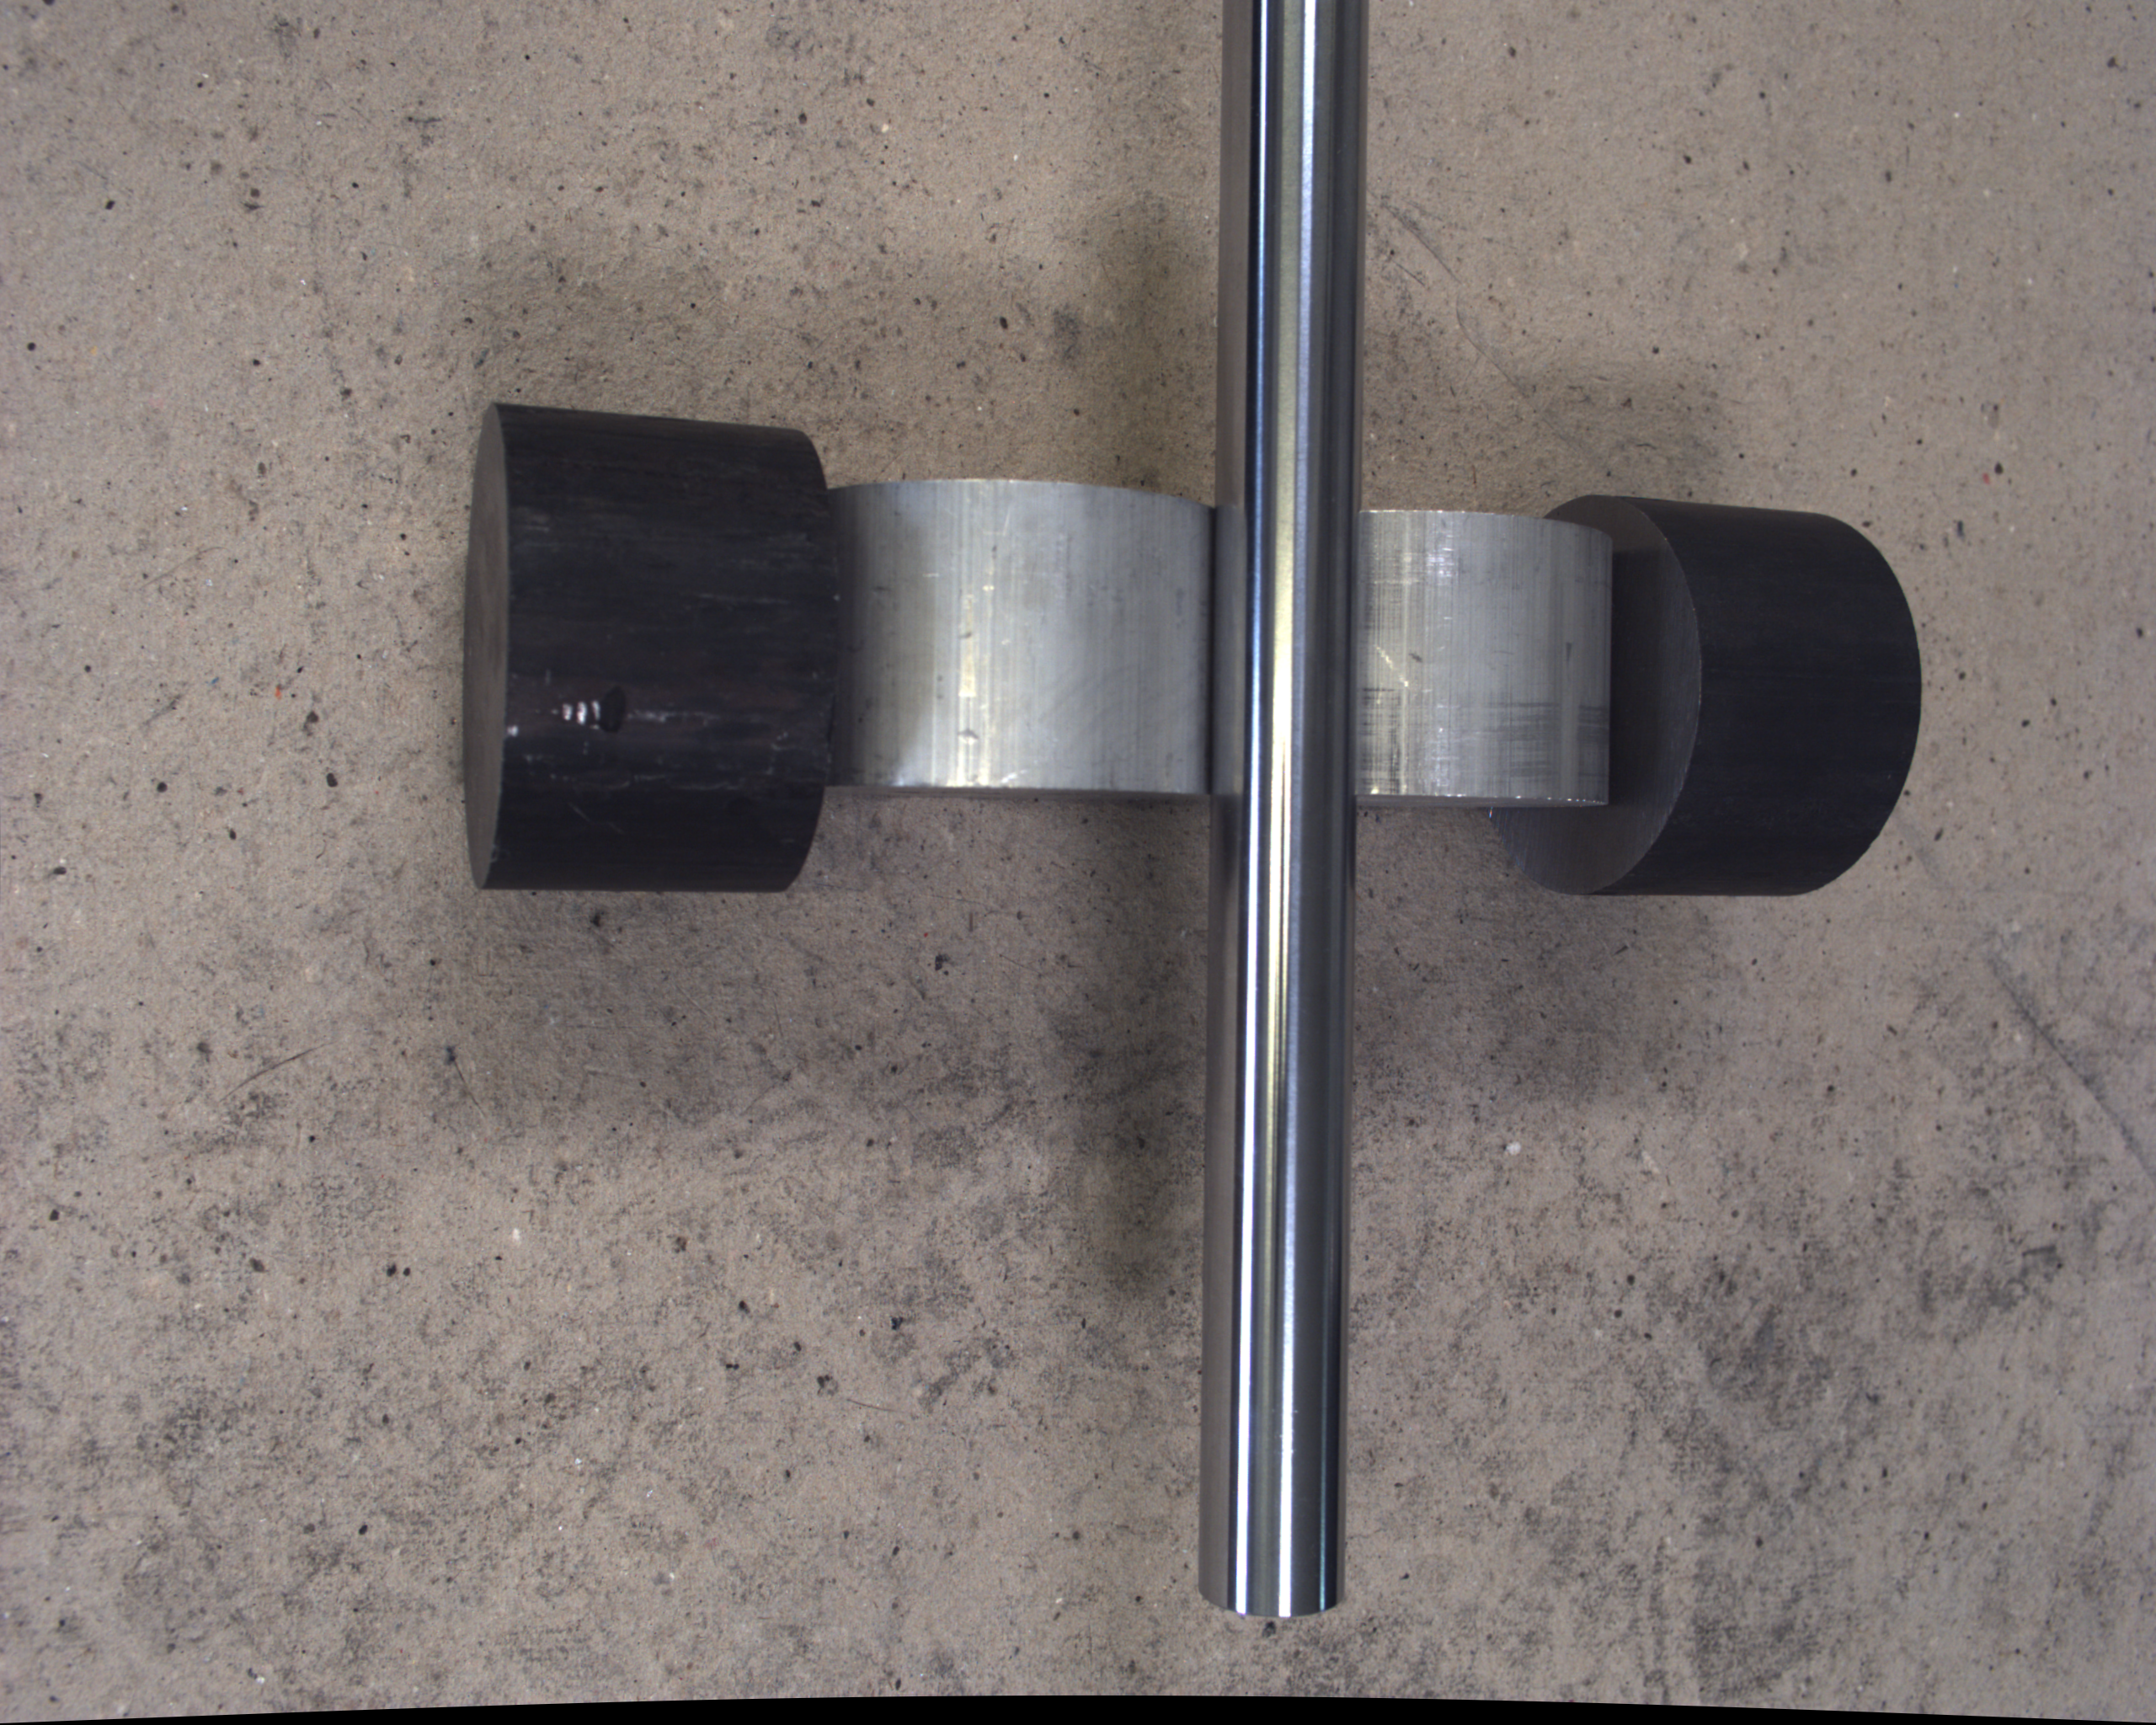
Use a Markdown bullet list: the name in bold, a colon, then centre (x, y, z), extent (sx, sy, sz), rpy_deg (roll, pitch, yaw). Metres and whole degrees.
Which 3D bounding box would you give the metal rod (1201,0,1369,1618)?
- **metal rod**: centre (0.036, -0.024, 0.358), extent (0.025, 0.025, 0.298), rpy_deg (1, 90, -20)

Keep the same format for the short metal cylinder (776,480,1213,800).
- **short metal cylinder**: centre (-0.014, -0.037, 0.376), extent (0.081, 0.080, 0.050), rpy_deg (1, 90, -20)

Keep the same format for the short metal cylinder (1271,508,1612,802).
- **short metal cylinder**: centre (0.062, -0.037, 0.403), extent (0.081, 0.080, 0.050), rpy_deg (1, 90, -20)

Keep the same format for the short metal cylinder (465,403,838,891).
- **short metal cylinder**: centre (-0.075, -0.035, 0.354), extent (0.050, 0.080, 0.080), rpy_deg (1, 90, -20)

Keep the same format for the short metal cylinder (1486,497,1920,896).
- **short metal cylinder**: centre (0.123, -0.033, 0.427), extent (0.050, 0.080, 0.080), rpy_deg (1, 90, -20)
